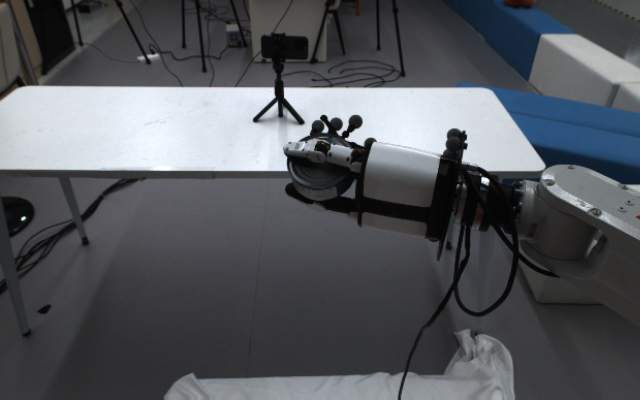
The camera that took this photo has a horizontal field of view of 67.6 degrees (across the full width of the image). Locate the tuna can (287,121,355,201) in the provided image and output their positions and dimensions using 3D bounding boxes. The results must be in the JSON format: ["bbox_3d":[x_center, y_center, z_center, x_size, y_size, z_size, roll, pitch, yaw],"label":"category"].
[{"bbox_3d":[0.003,-0.044,0.619,0.085,0.034,0.085,-4,56,6],"label":"tuna can"}]
